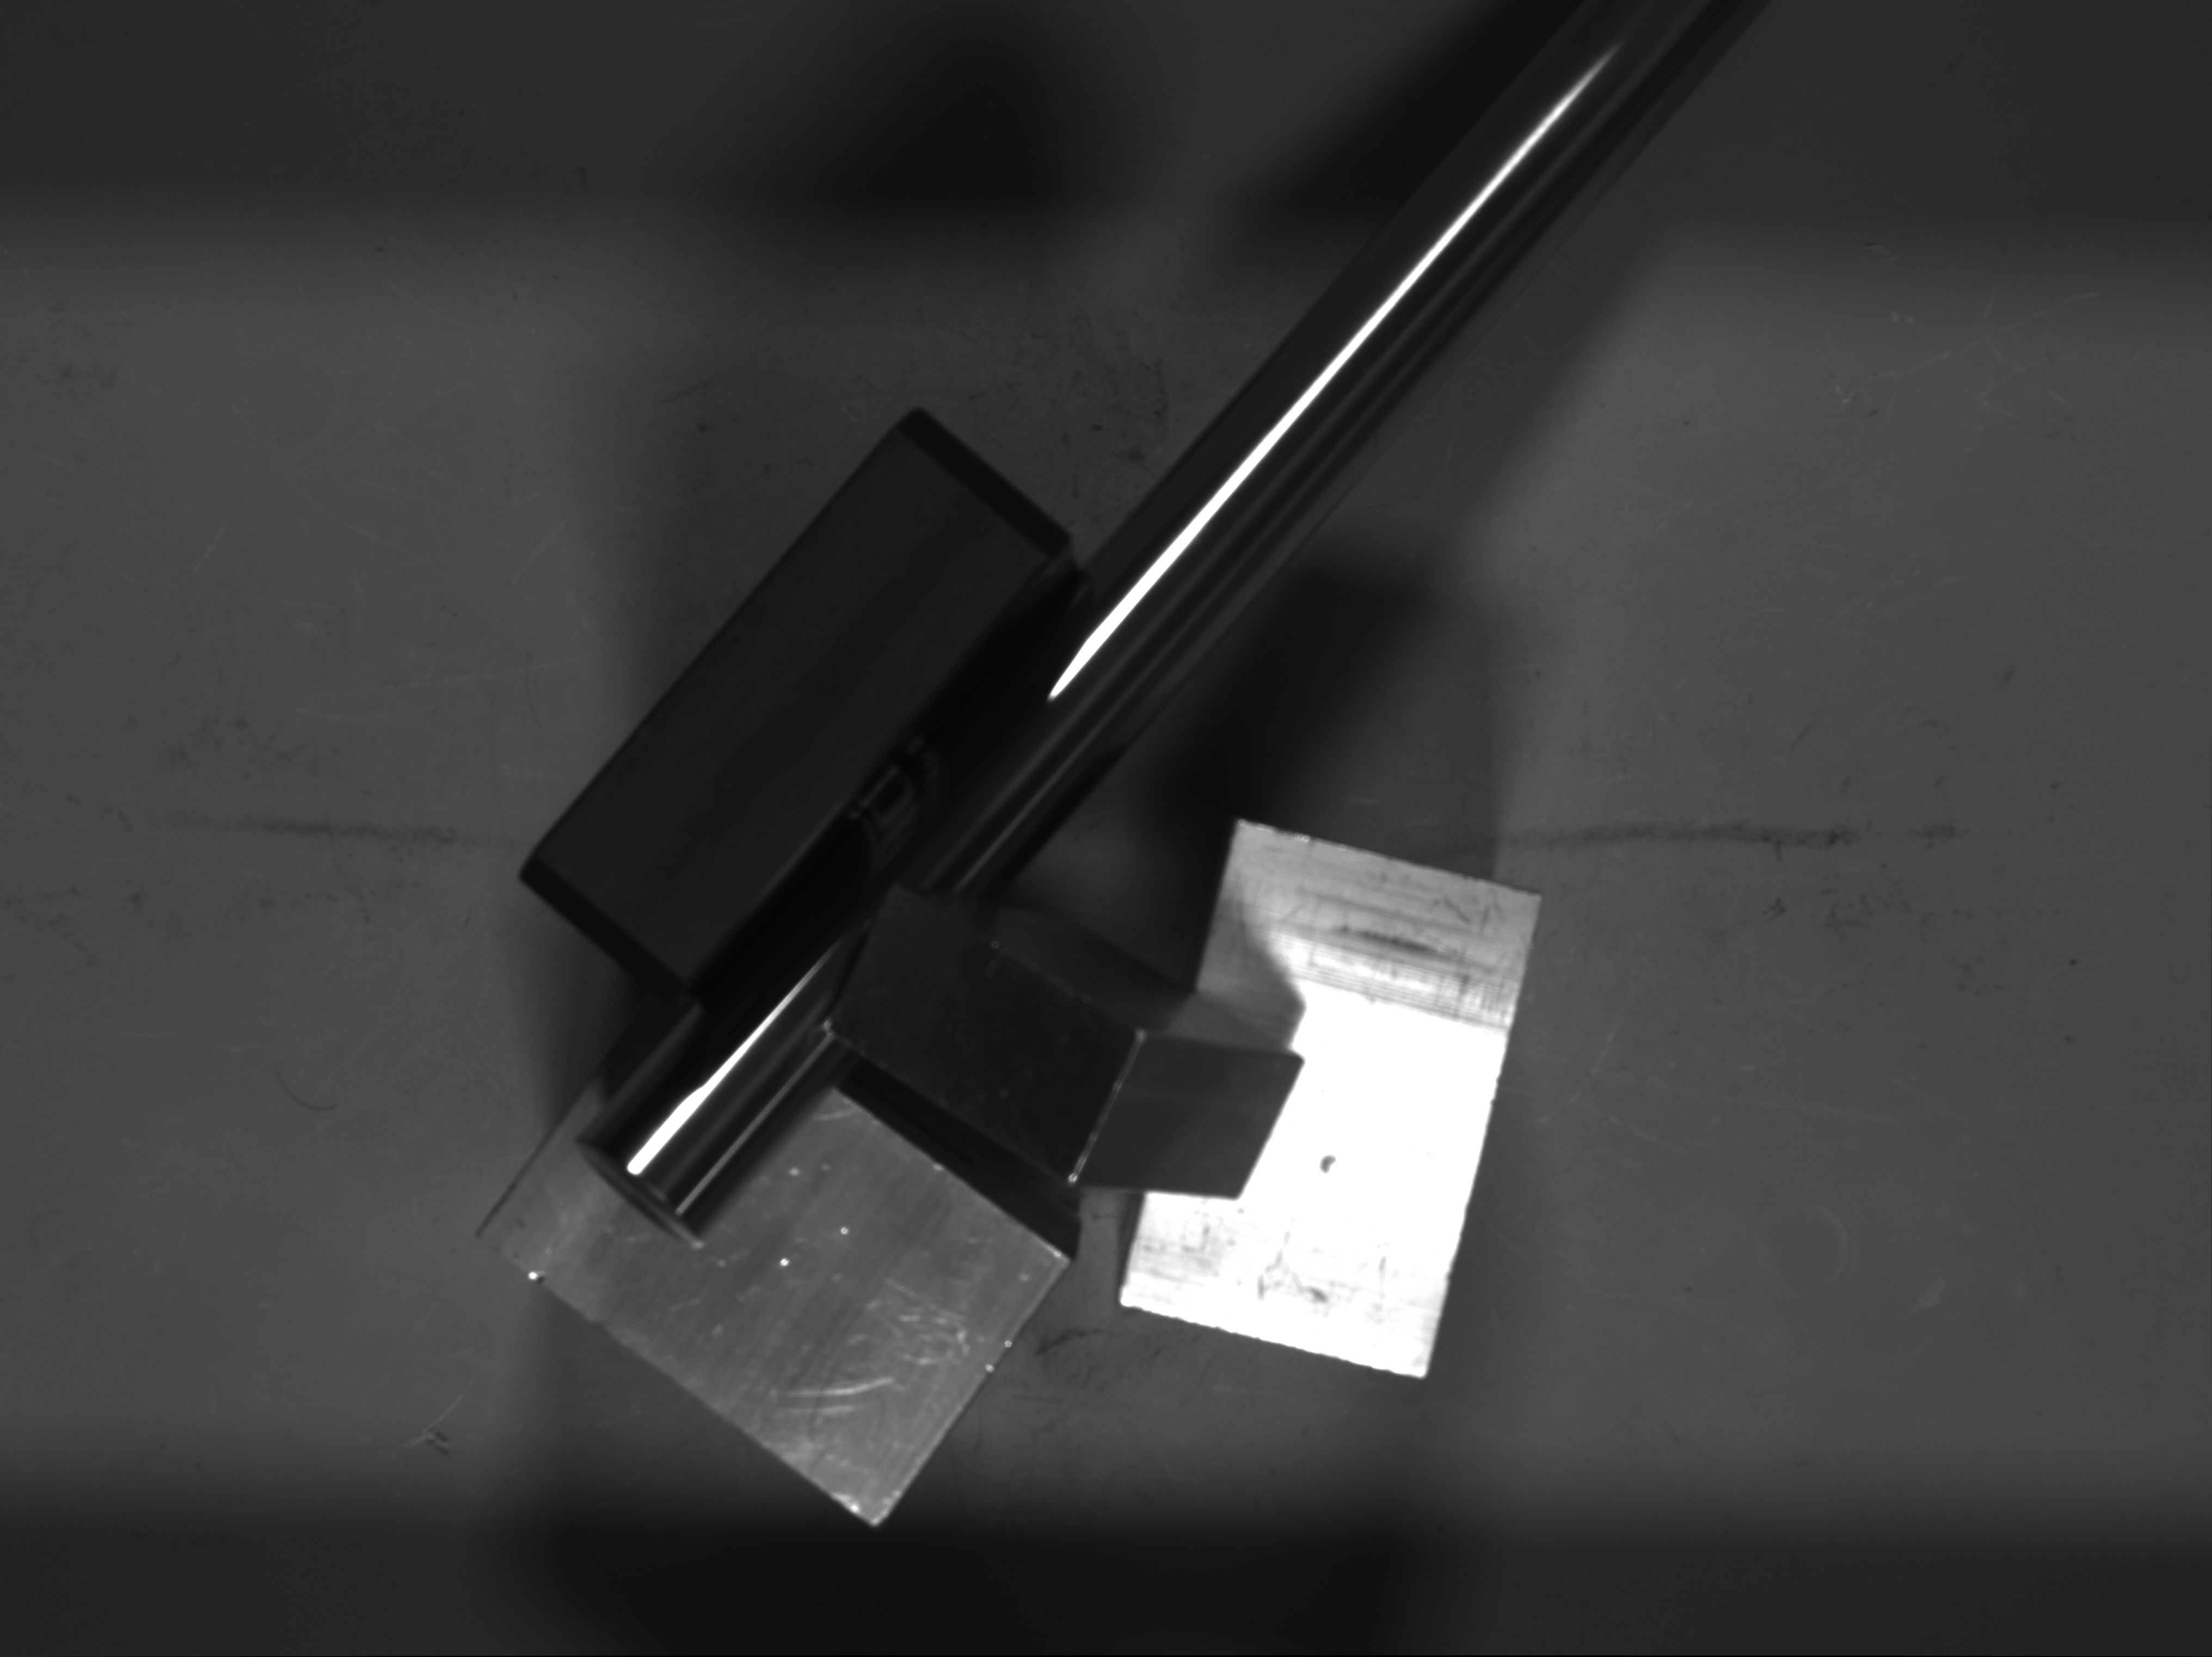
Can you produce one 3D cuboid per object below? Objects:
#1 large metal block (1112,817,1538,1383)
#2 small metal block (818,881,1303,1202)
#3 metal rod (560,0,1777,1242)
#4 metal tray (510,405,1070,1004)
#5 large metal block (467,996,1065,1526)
[{"bbox_3d":[0.034,0.043,0.618,0.050,0.080,0.080,13,90,0],"label":"large metal block"},{"bbox_3d":[-0.007,0.033,0.557,0.050,0.050,0.025,30,99,31],"label":"small metal block"},{"bbox_3d":[0.021,-0.053,0.600,0.025,0.025,0.300,41,73,0],"label":"metal rod"},{"bbox_3d":[-0.046,-0.018,0.591,0.030,0.130,0.090,40,91,1],"label":"metal tray"},{"bbox_3d":[-0.054,0.066,0.618,0.080,0.080,0.050,37,90,0],"label":"large metal block"}]
